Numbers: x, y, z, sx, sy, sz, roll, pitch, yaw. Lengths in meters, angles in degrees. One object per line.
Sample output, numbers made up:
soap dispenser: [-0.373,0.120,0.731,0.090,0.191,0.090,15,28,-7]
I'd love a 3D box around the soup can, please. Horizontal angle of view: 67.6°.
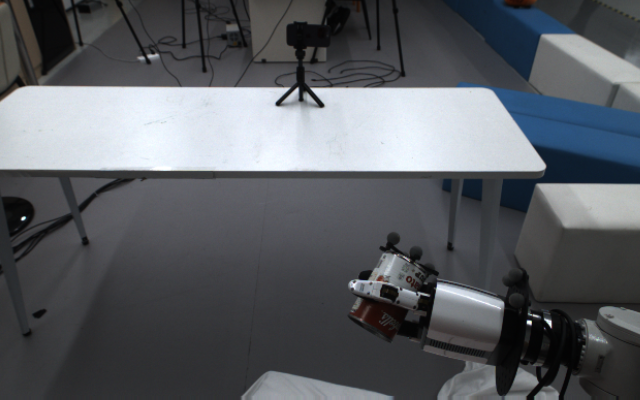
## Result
soup can: [0.091,0.126,0.639,0.067,0.067,0.101,24,72,29]
